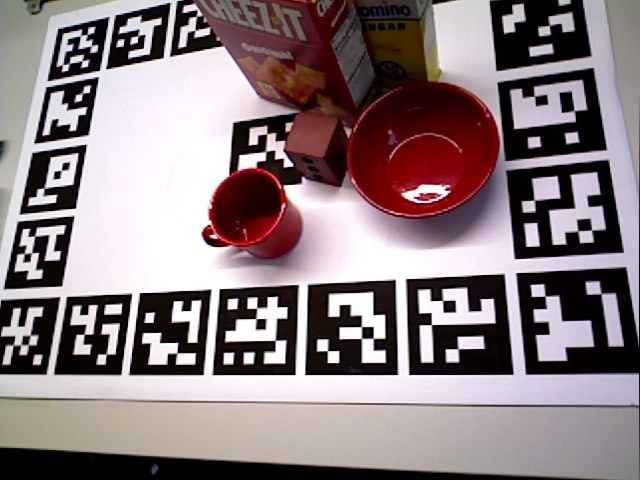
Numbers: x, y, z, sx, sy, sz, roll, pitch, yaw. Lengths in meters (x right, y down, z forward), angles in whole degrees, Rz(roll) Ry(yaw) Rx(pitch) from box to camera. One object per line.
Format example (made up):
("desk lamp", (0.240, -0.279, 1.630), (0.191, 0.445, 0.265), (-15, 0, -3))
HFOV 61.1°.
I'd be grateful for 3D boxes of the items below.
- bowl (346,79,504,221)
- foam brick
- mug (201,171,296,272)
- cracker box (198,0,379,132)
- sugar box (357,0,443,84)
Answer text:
("bowl", (0.112, -0.084, 0.573), (0.162, 0.055, 0.160), (-6, 71, 16))
("foam brick", (-0.004, -0.104, 0.622), (0.053, 0.078, 0.051), (11, 74, 22))
("mug", (-0.088, -0.013, 0.609), (0.118, 0.082, 0.092), (-13, 60, 15))
("cracker box", (-0.036, -0.222, 0.594), (0.164, 0.215, 0.071), (26, 78, 23))
("sugar box", (0.075, -0.237, 0.580), (0.093, 0.177, 0.045), (17, 76, 23))
